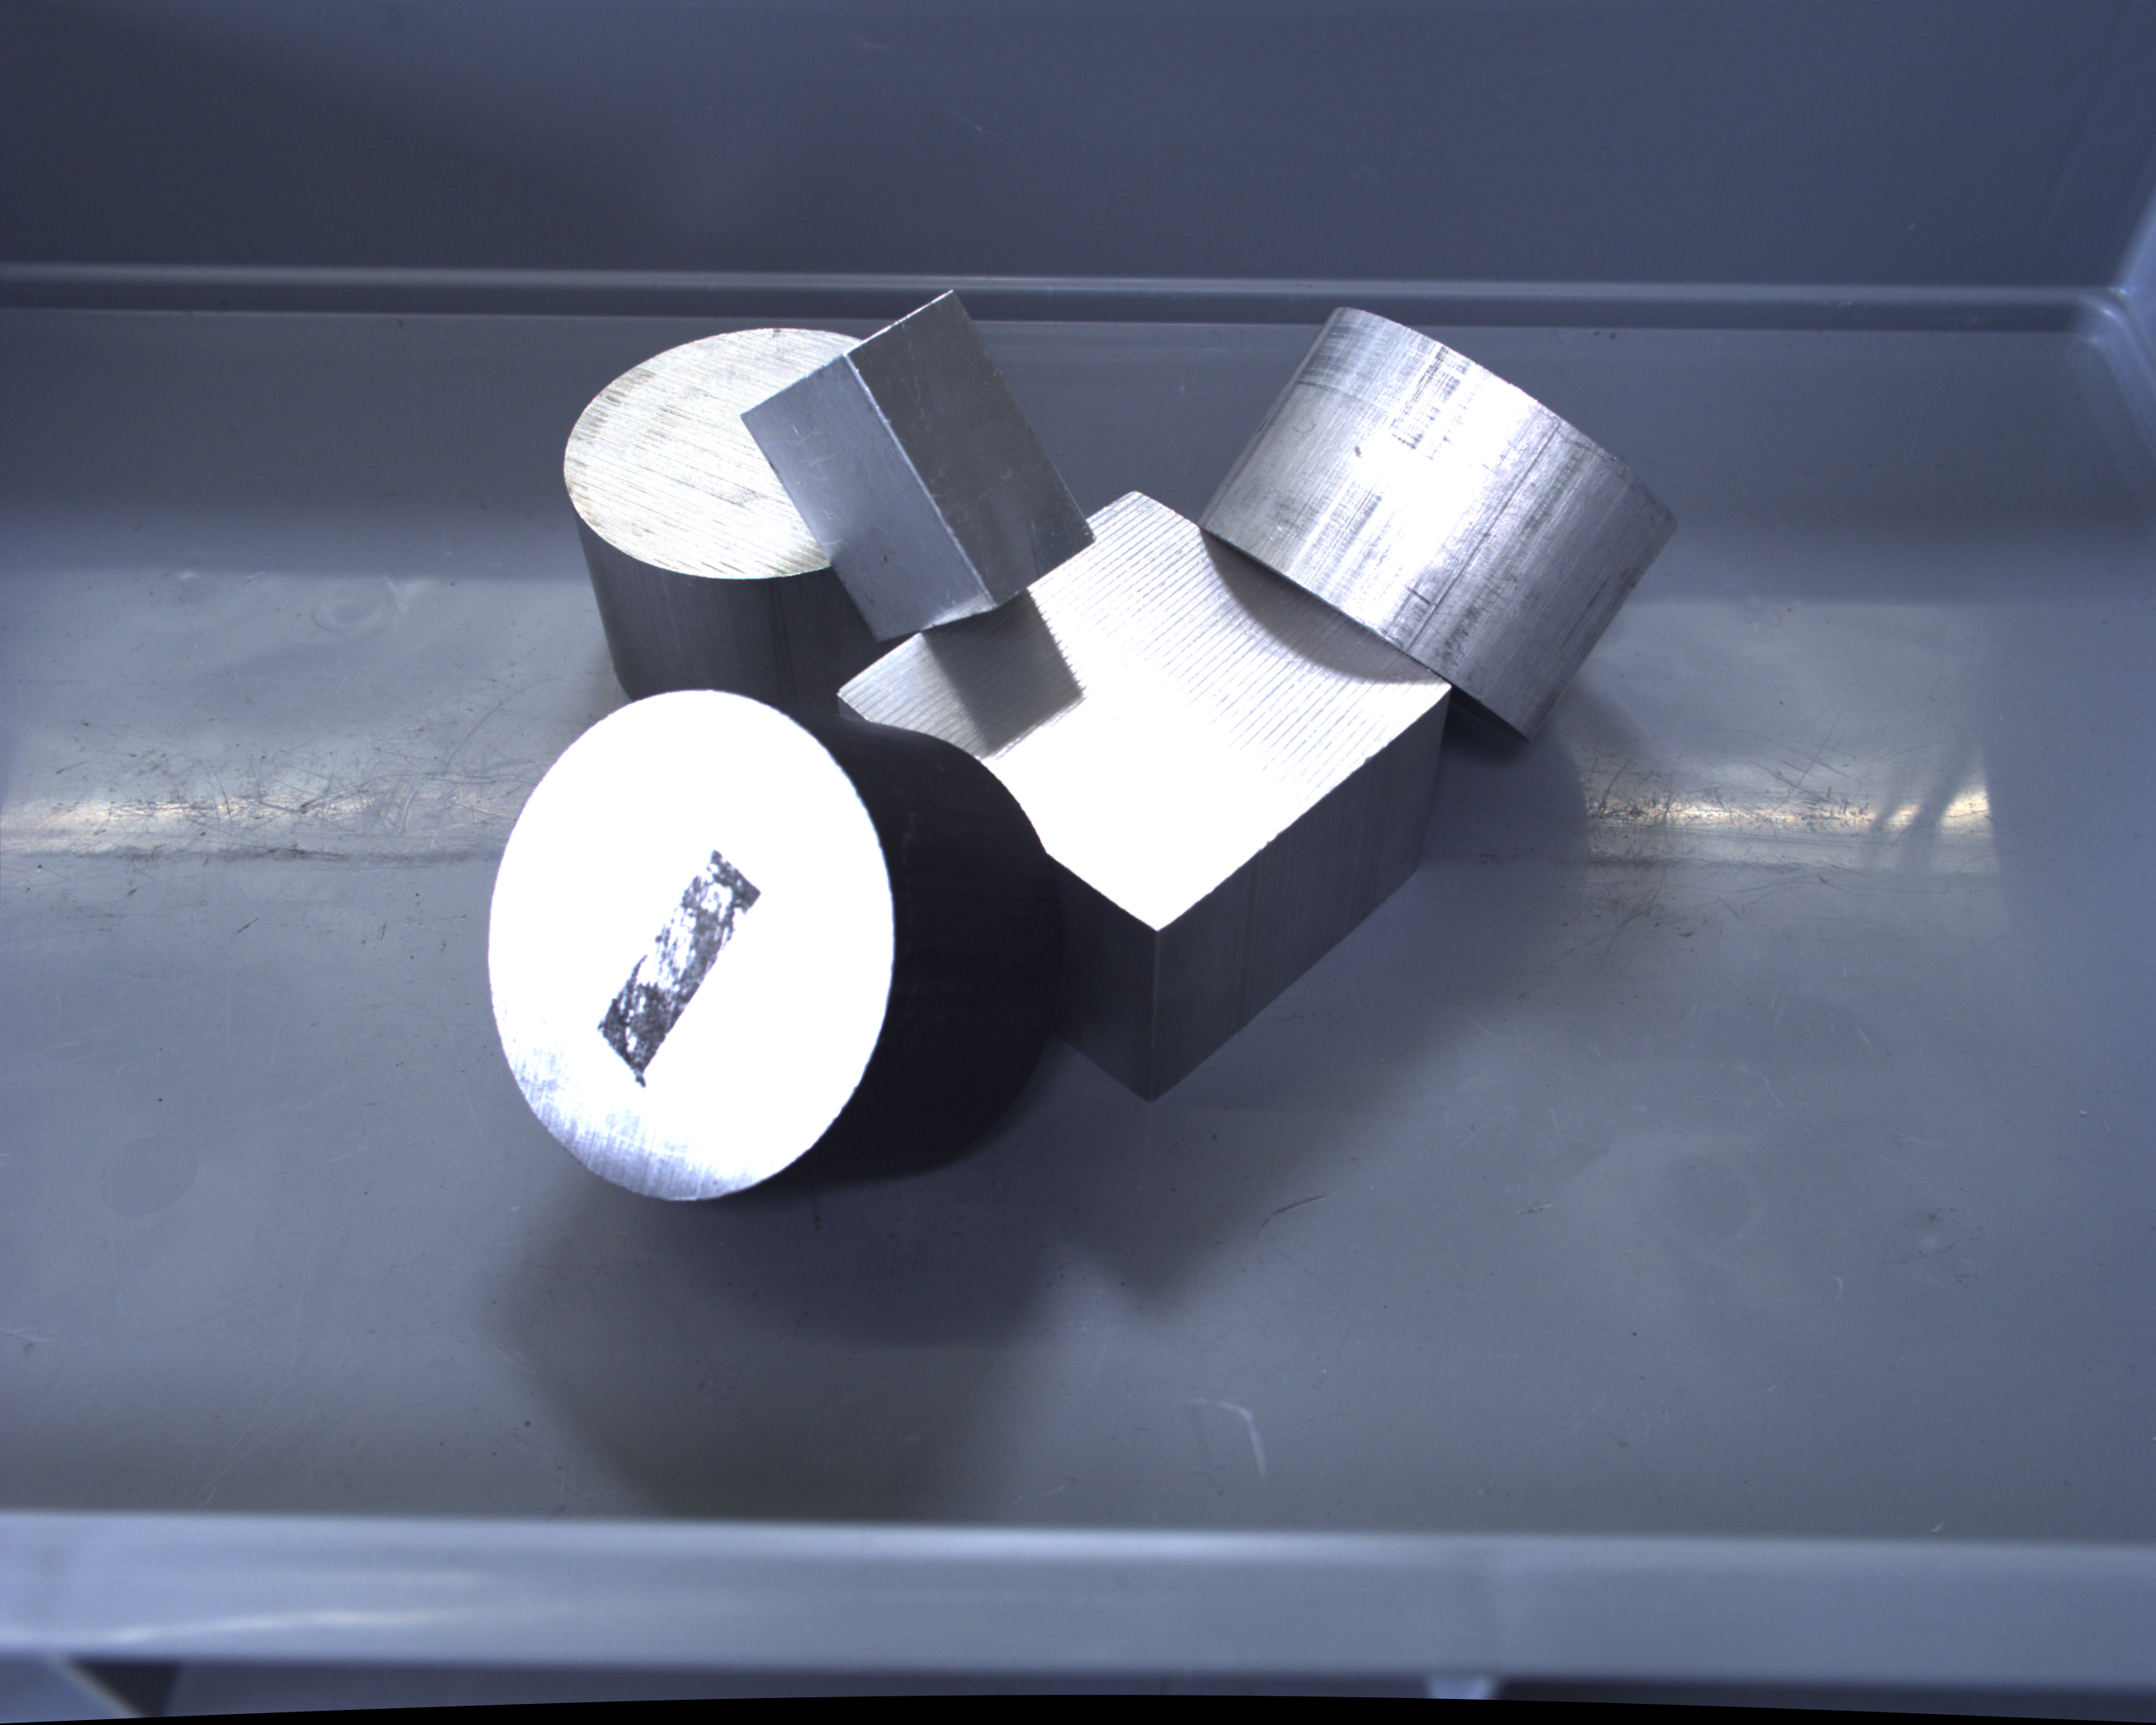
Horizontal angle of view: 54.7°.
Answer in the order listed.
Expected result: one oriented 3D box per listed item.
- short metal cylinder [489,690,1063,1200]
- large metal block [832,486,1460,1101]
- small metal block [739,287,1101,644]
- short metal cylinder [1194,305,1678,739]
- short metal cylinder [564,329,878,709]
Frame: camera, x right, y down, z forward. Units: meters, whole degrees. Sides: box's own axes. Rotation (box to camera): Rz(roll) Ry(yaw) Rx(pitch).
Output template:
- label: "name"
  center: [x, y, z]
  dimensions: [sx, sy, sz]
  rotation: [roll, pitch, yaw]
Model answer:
- label: "short metal cylinder"
  center: [-0.050, 0.014, 0.347]
  dimensions: [0.080, 0.050, 0.080]
  rotation: [-2, 85, 29]
- label: "large metal block"
  center: [0.012, -0.016, 0.397]
  dimensions: [0.080, 0.050, 0.080]
  rotation: [37, 59, 26]
- label: "small metal block"
  center: [-0.030, -0.071, 0.382]
  dimensions: [0.025, 0.050, 0.050]
  rotation: [-38, 16, -25]
- label: "short metal cylinder"
  center: [0.070, -0.067, 0.415]
  dimensions: [0.080, 0.080, 0.050]
  rotation: [36, 97, 26]
- label: "short metal cylinder"
  center: [-0.064, -0.069, 0.444]
  dimensions: [0.081, 0.050, 0.080]
  rotation: [0, 50, 0]
